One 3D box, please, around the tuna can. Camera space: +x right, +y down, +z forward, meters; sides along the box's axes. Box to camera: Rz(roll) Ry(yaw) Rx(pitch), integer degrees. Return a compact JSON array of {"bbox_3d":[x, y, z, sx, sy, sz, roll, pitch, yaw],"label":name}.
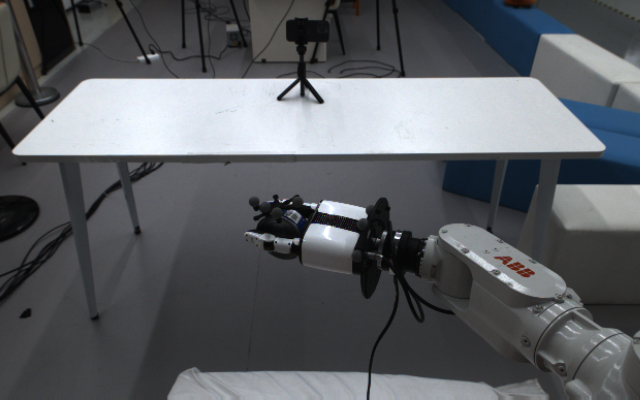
[{"bbox_3d":[-0.058,0.055,0.794,0.085,0.085,0.034,14,33,17],"label":"tuna can"}]
